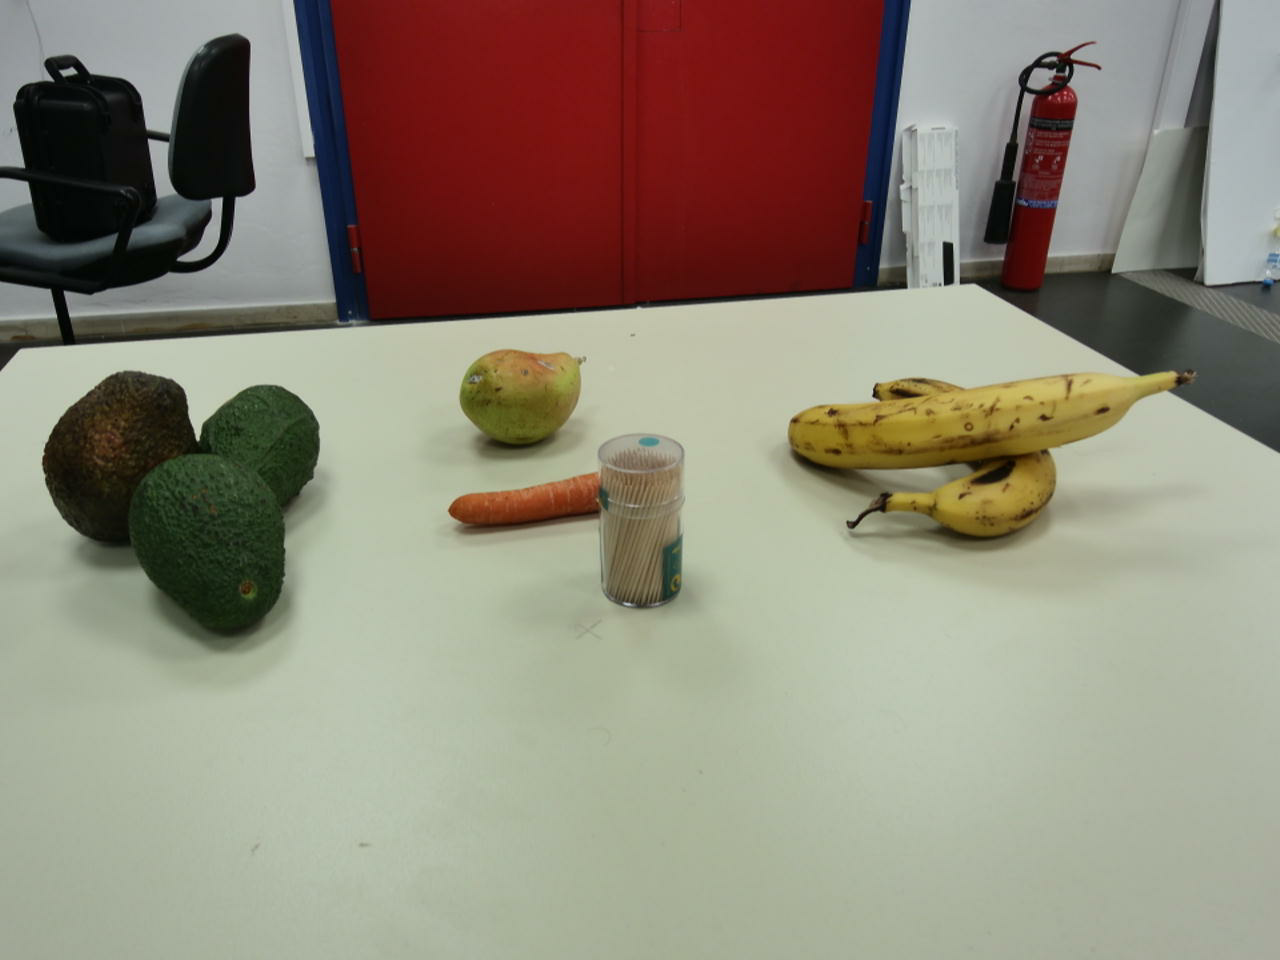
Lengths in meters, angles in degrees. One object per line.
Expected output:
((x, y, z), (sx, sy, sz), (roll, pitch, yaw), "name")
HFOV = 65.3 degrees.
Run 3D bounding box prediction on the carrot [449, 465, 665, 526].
((-0.044, 0.009, 0.558), (0.122, 0.023, 0.024), (-7, 27, -14), "carrot")
